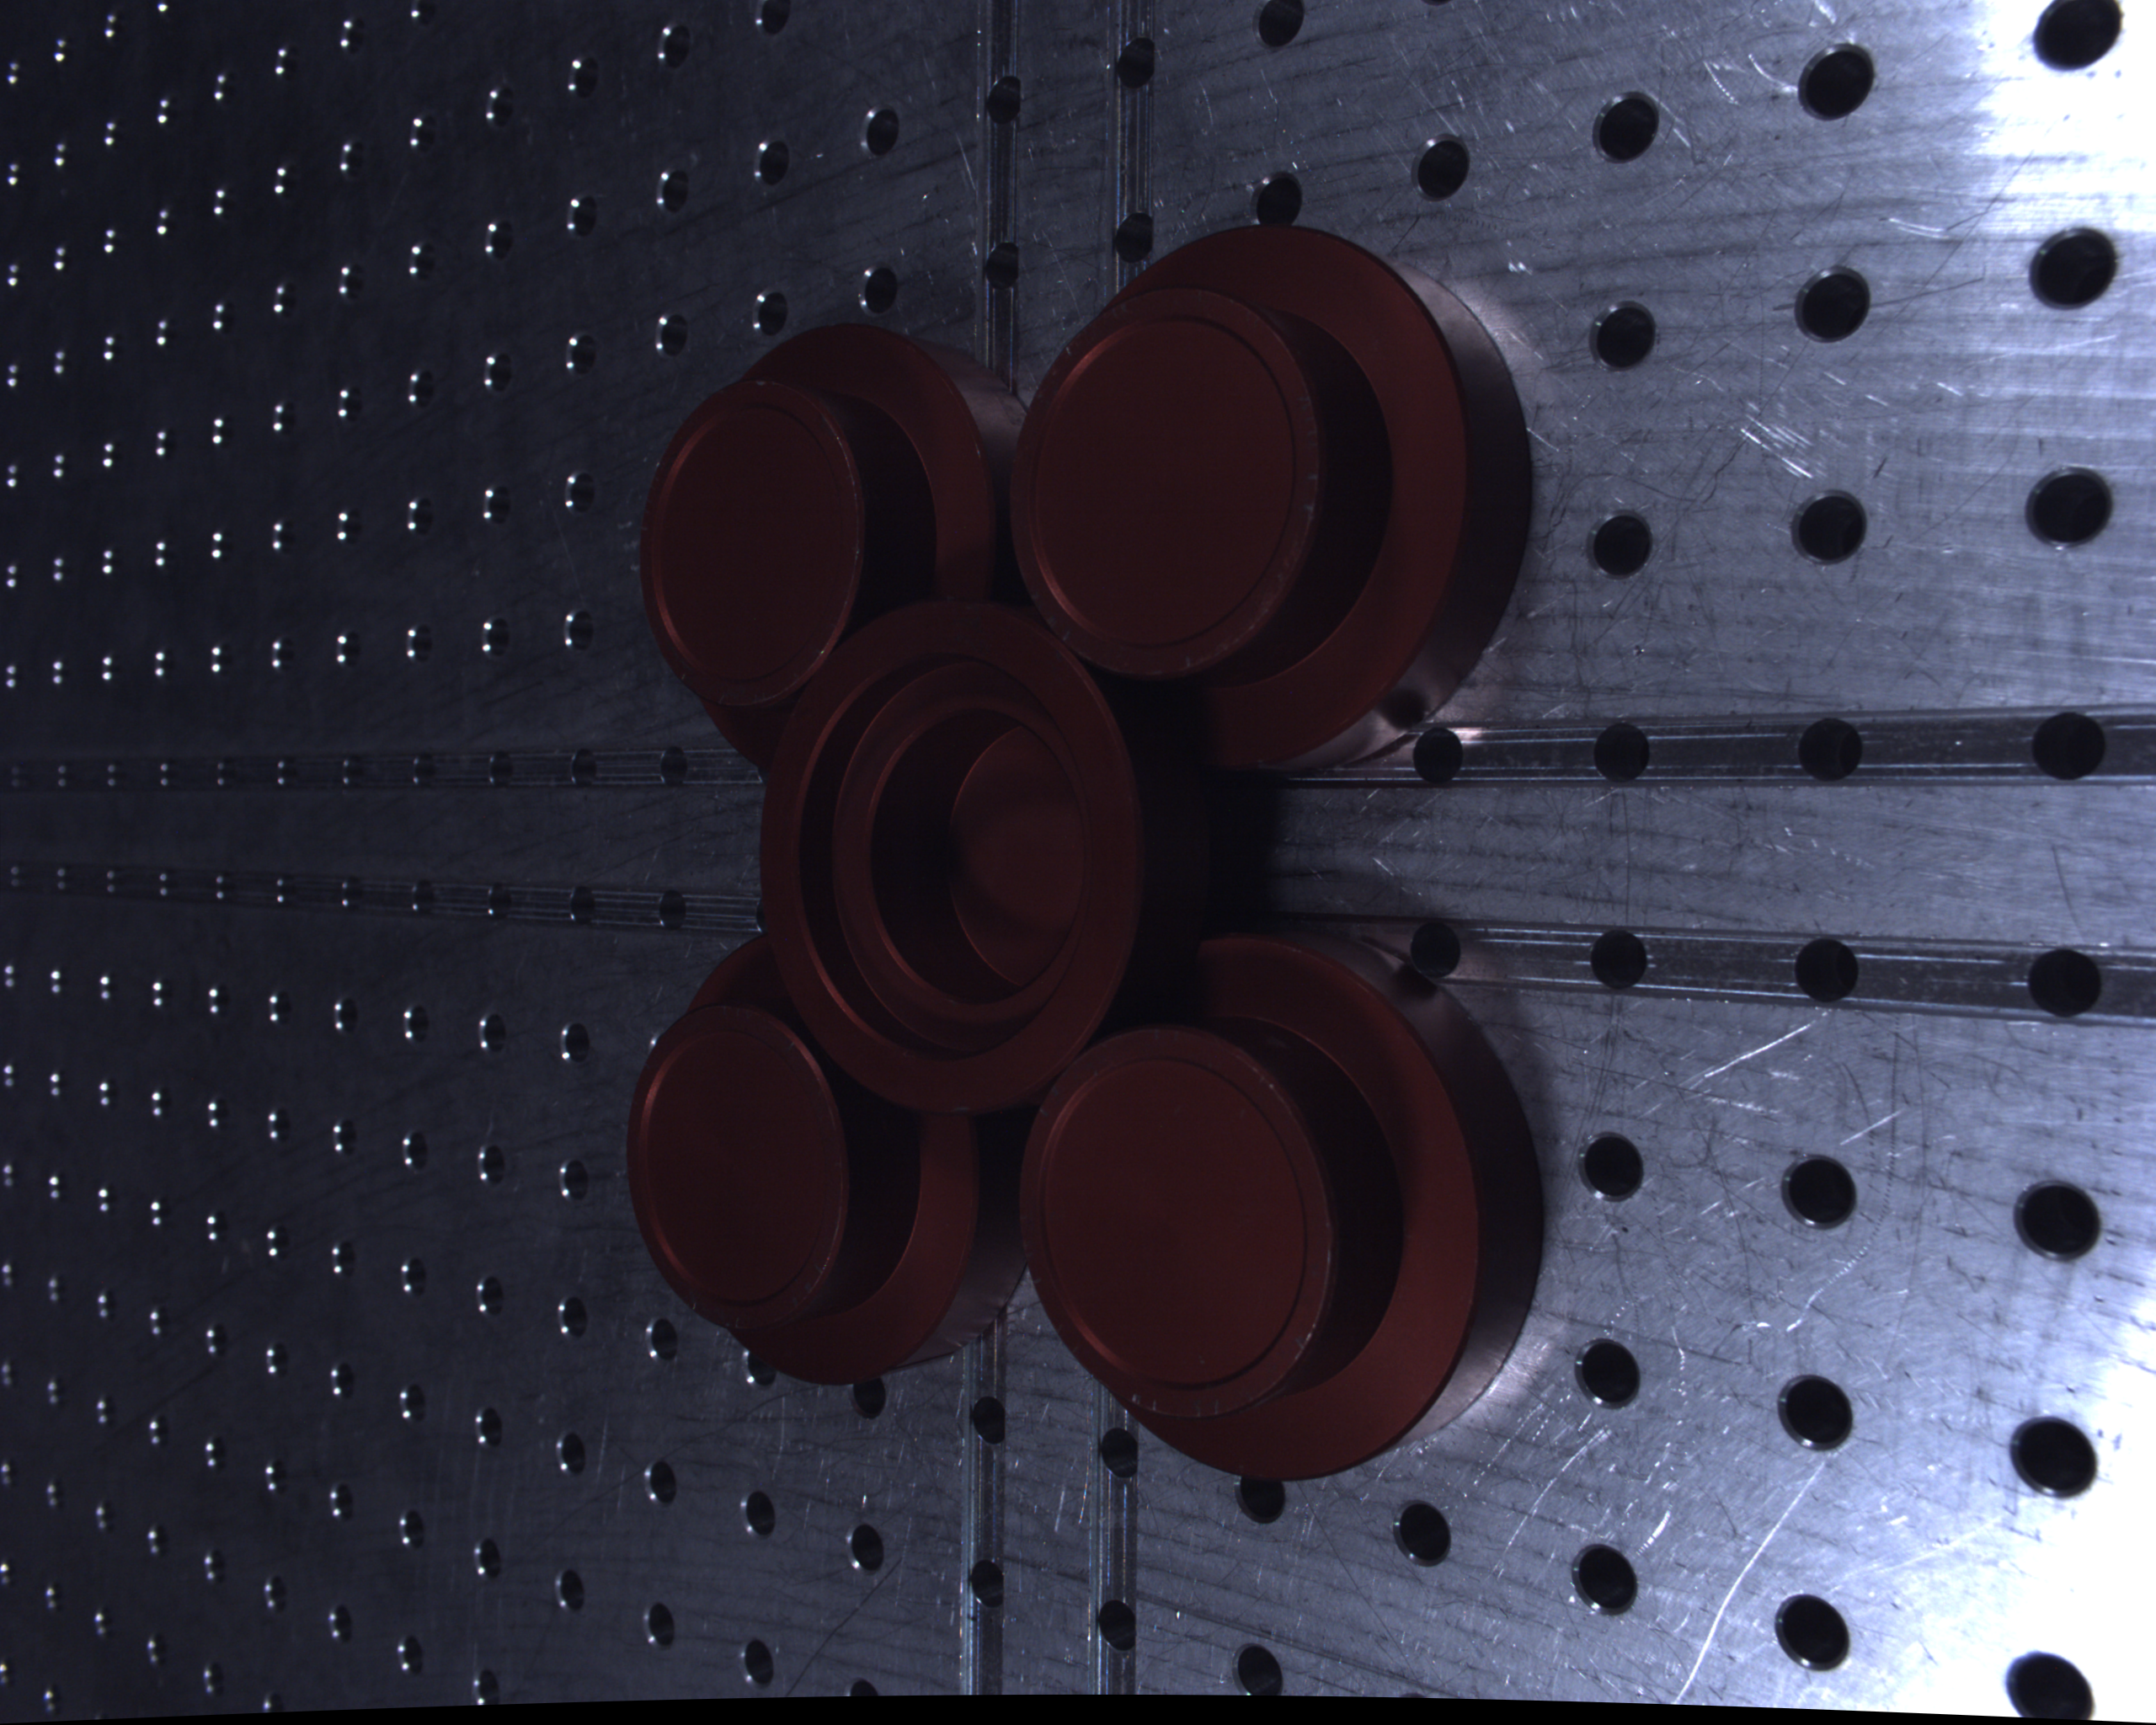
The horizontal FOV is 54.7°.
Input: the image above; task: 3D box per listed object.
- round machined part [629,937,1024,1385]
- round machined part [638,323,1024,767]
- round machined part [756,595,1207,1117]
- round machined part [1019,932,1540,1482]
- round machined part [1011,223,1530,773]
[{"bbox_3d":[-0.058,0.062,0.444,0.098,0.042,0.097,0,90,39],"label":"round machined part"},{"bbox_3d":[-0.055,-0.065,0.440,0.098,0.042,0.097,0,90,39],"label":"round machined part"},{"bbox_3d":[-0.014,-0.001,0.406,0.098,0.042,0.097,0,90,39],"label":"round machined part"},{"bbox_3d":[0.028,0.061,0.372,0.098,0.042,0.097,0,90,39],"label":"round machined part"},{"bbox_3d":[0.027,-0.065,0.374,0.098,0.042,0.097,0,90,39],"label":"round machined part"}]
